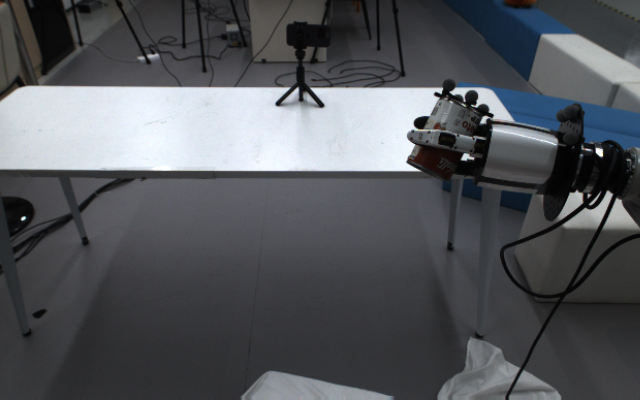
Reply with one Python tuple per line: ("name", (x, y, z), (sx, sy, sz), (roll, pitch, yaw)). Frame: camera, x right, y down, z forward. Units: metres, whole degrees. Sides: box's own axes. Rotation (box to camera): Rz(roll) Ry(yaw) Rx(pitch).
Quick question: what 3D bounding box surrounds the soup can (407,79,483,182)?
("soup can", (0.176, -0.085, 0.681), (0.067, 0.101, 0.067), (26, 5, -3))
